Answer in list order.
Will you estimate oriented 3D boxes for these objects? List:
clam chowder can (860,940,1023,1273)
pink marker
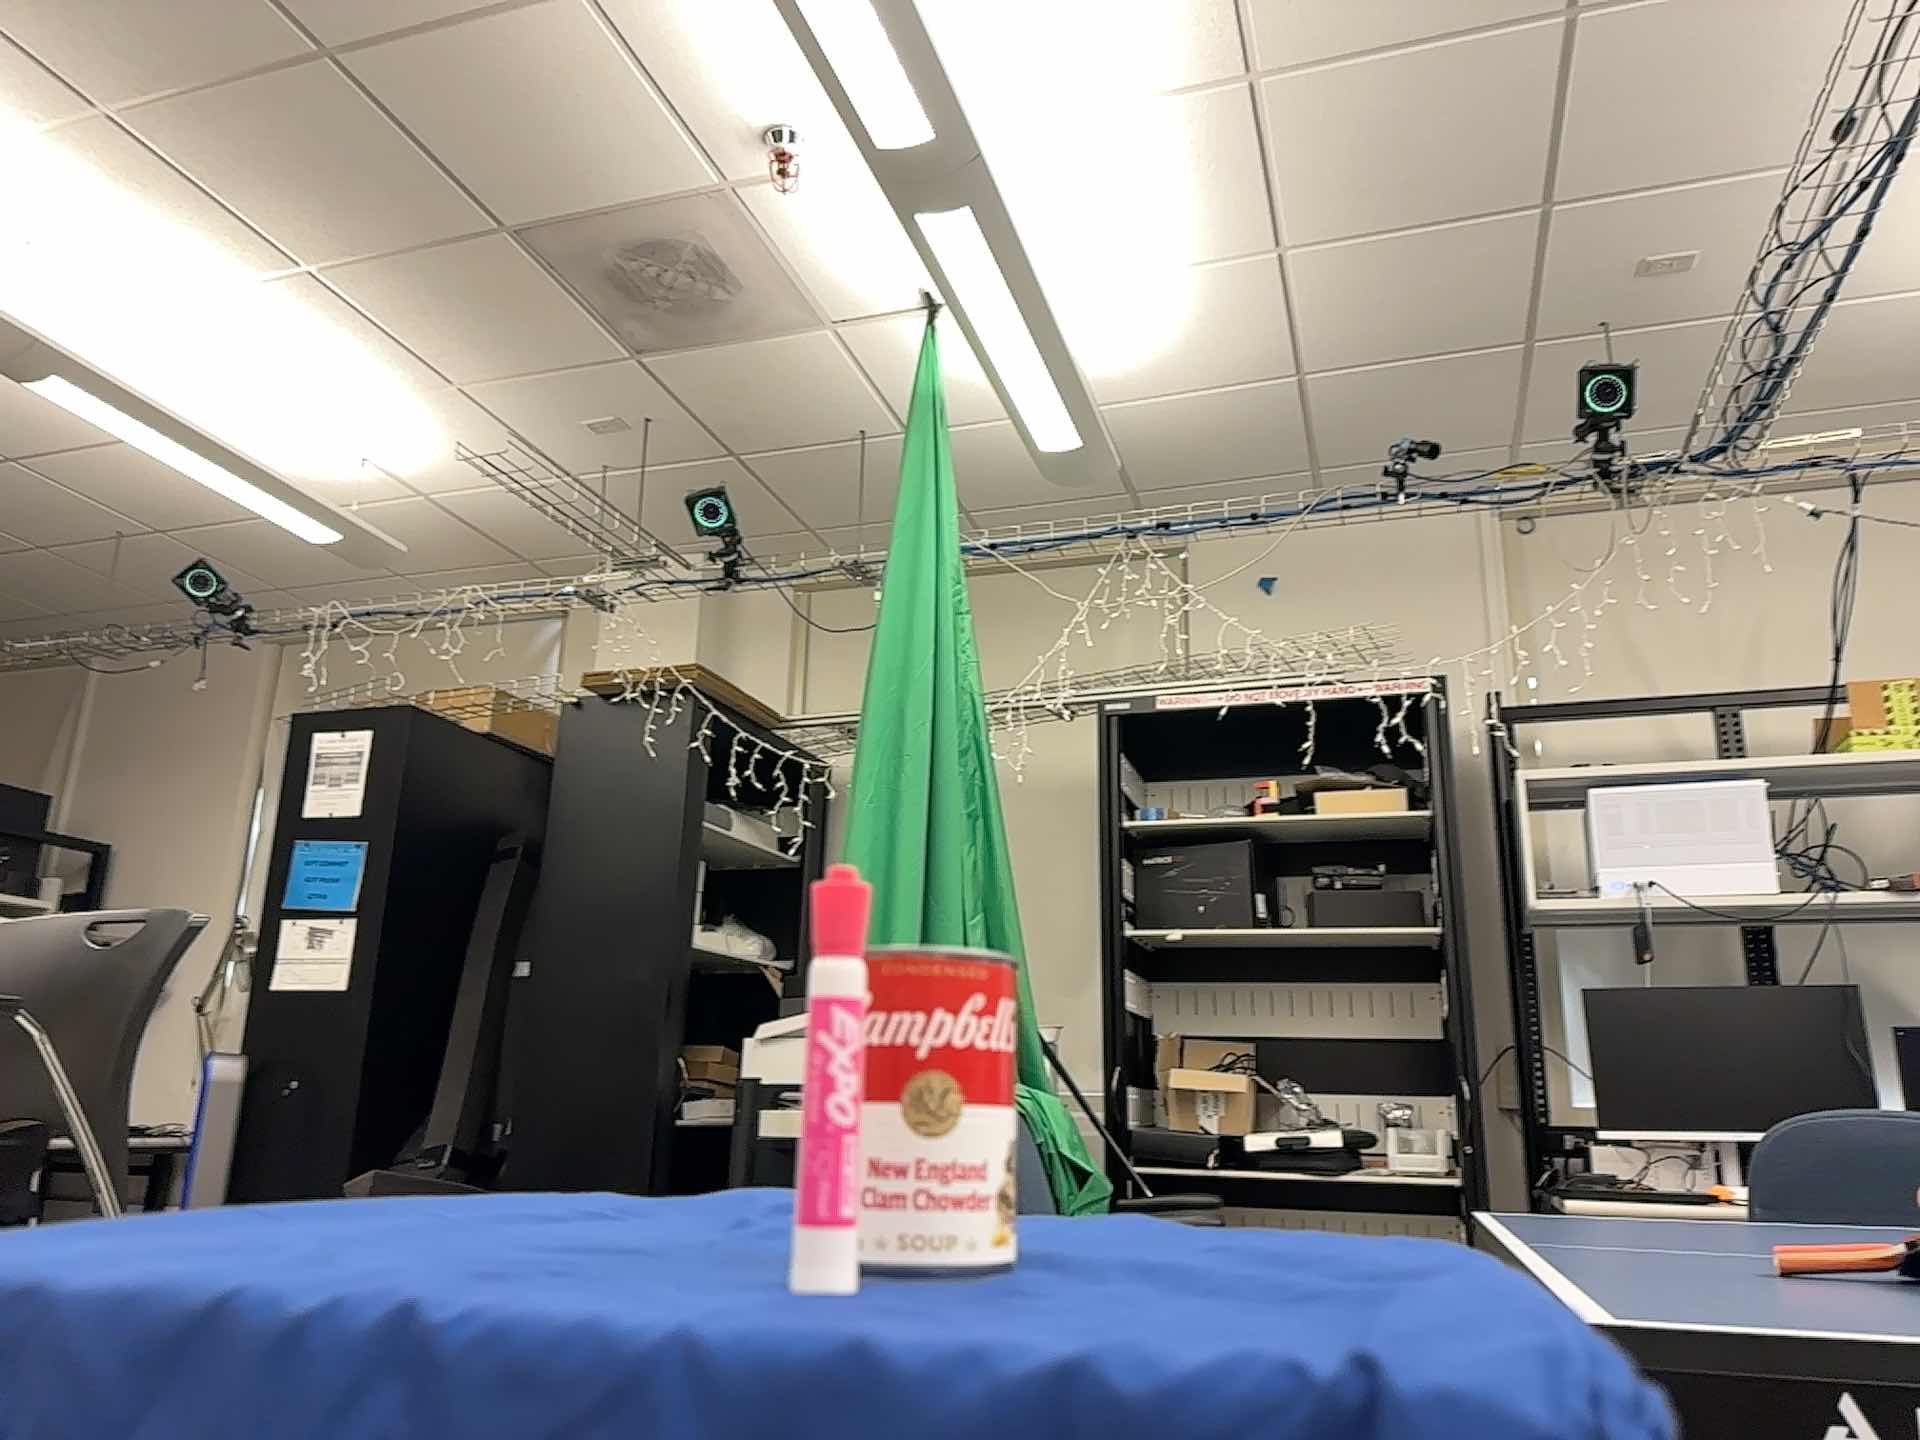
[{"bbox_3d":[-0.013,0.129,0.459,0.068,0.102,0.068,1,-14,0],"label":"clam chowder can"},{"bbox_3d":[-0.037,0.103,0.398,0.020,0.121,0.020,1,-14,0],"label":"pink marker"}]
